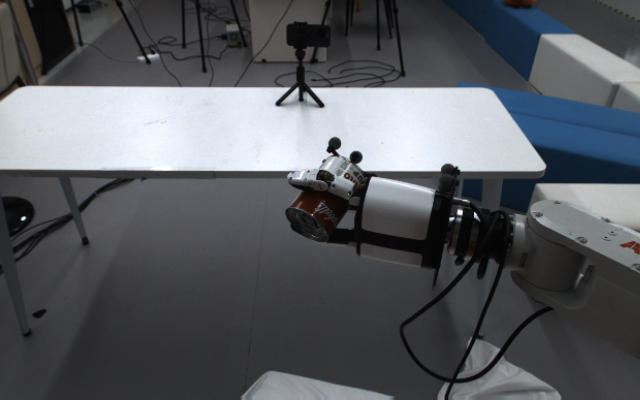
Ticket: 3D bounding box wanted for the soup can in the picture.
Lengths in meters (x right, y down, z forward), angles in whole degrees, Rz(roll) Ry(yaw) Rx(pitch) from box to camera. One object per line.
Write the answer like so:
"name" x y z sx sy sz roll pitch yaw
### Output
"soup can" 0.011 -0.003 0.648 0.067 0.067 0.101 22 60 26
